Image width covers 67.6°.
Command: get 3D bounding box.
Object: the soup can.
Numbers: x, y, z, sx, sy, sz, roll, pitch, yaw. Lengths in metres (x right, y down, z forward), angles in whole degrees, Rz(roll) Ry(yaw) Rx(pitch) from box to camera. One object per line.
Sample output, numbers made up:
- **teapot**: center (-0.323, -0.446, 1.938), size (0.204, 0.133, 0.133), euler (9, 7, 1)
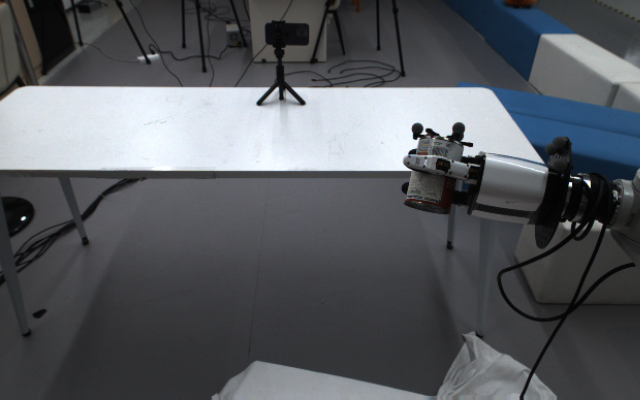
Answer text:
- **soup can**: center (0.169, -0.037, 0.712), size (0.067, 0.101, 0.067), euler (13, -7, 2)
